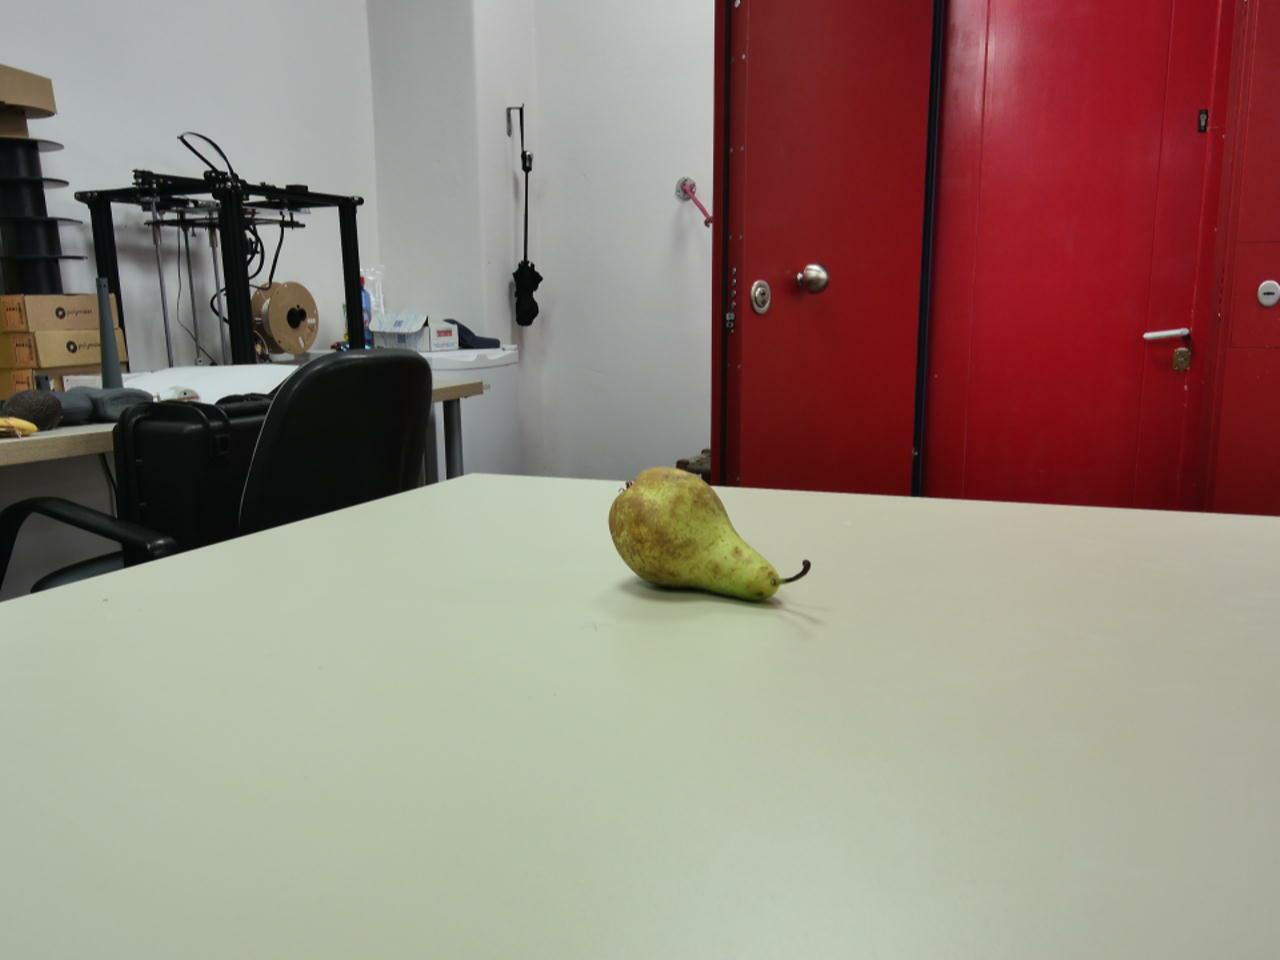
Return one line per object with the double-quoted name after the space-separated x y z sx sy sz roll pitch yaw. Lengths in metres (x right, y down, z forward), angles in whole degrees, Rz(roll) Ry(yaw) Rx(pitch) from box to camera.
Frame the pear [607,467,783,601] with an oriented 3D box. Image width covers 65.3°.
0.047 0.032 0.614 0.144 0.075 0.071 6 9 30 "pear"
